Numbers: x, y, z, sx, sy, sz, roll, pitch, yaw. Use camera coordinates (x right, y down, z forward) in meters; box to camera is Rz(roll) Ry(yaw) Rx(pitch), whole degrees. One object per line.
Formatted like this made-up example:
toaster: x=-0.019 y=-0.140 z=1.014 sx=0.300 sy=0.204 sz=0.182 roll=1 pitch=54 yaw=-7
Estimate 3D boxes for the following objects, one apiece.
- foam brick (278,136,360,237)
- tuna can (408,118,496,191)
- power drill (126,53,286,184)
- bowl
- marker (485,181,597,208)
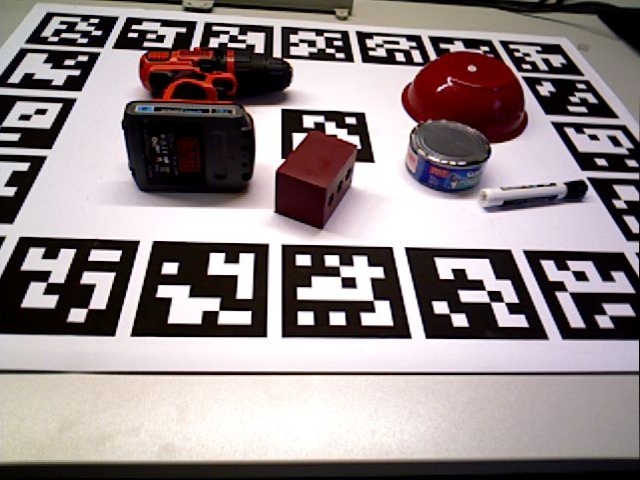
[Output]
foam brick: x=-0.001 y=-0.051 z=0.511 sx=0.051 sy=0.054 sz=0.076 roll=19 pitch=47 yaw=9
tuna can: x=0.137 y=-0.090 z=0.569 sx=0.085 sy=0.034 sz=0.084 roll=5 pitch=45 yaw=-6
power drill: x=-0.123 y=-0.136 z=0.573 sx=0.183 sy=0.059 sz=0.184 roll=2 pitch=43 yaw=-10
bowl: x=0.176 y=-0.180 z=0.663 sx=0.161 sy=0.056 sz=0.159 roll=1 pitch=39 yaw=-2
marker: x=0.225 y=-0.047 z=0.546 sx=0.119 sy=0.020 sz=0.019 roll=-6 pitch=48 yaw=-13
